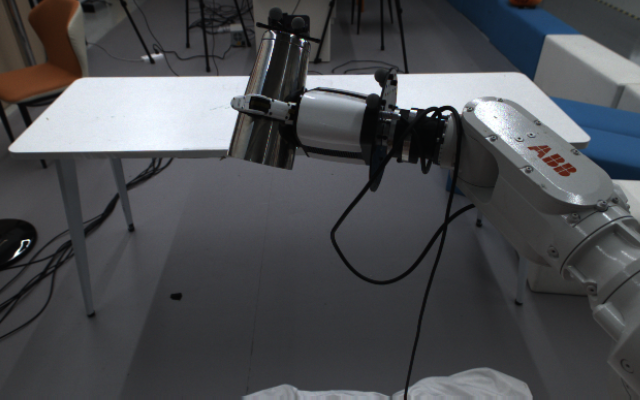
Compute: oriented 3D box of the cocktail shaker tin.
[{"bbox_3d":[-0.063,-0.134,0.656,0.093,0.170,0.093,13,4,-1],"label":"cocktail shaker tin"}]
